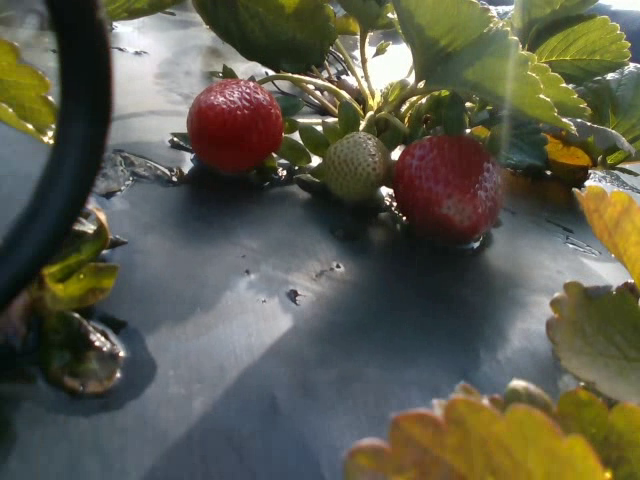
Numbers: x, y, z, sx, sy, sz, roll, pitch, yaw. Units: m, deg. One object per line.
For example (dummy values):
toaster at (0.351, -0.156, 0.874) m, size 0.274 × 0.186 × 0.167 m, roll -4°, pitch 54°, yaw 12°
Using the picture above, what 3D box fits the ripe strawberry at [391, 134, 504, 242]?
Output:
ripe strawberry at (0.051, -0.020, 0.245) m, size 0.048 × 0.050 × 0.065 m, roll -24°, pitch 31°, yaw 19°
